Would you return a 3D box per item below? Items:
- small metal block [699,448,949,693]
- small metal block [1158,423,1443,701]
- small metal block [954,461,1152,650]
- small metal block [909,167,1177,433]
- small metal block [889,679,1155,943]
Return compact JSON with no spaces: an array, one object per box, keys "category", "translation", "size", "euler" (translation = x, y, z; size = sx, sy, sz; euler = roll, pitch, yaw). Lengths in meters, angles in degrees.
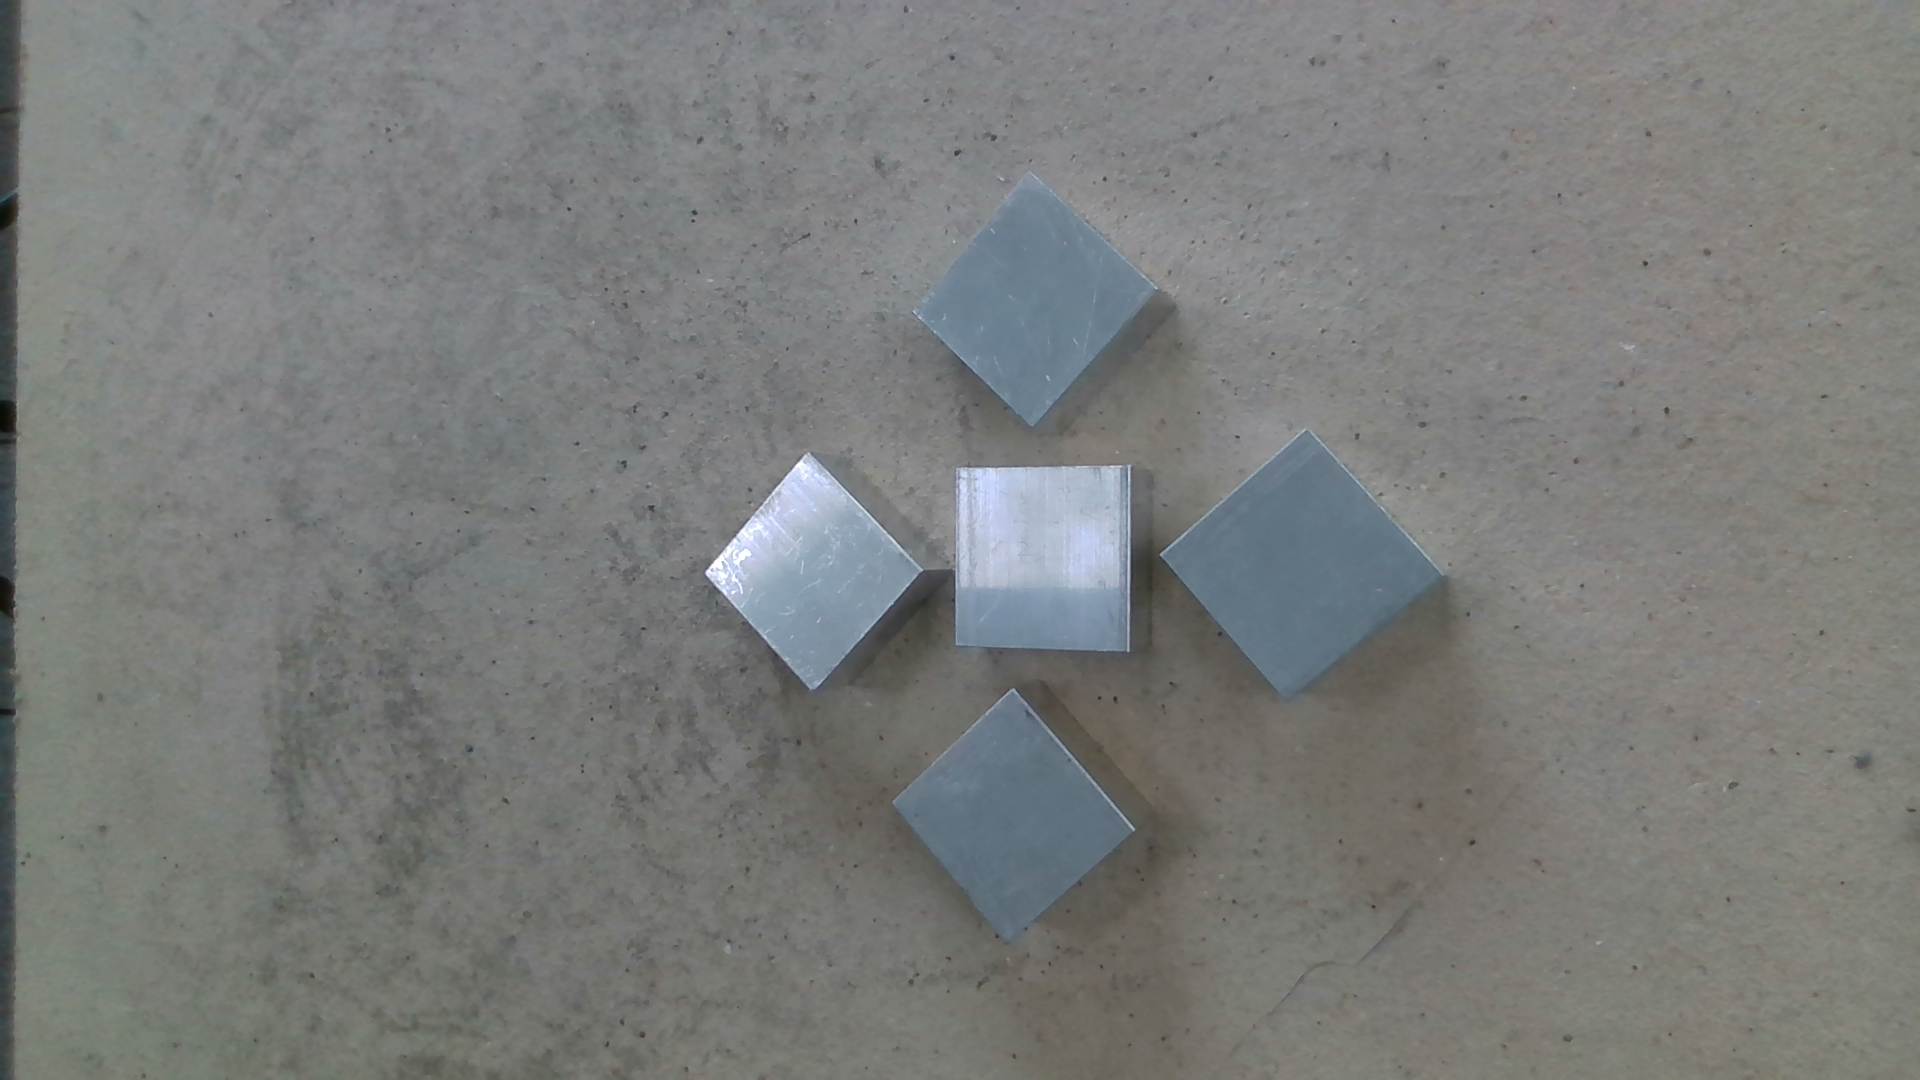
[{"category":"small metal block","translation":[-0.040,0.009,0.409],"size":[0.050,0.025,0.050],"euler":[45,105,13]},{"category":"small metal block","translation":[0.089,0.006,0.361],"size":[0.050,0.025,0.050],"euler":[-43,77,15]},{"category":"small metal block","translation":[0.026,0.004,0.384],"size":[0.050,0.025,0.050],"euler":[0,90,20]},{"category":"small metal block","translation":[0.023,-0.066,0.385],"size":[0.050,0.025,0.050],"euler":[45,104,13]},{"category":"small metal block","translation":[0.017,0.075,0.389],"size":[0.050,0.025,0.050],"euler":[-45,76,15]}]
